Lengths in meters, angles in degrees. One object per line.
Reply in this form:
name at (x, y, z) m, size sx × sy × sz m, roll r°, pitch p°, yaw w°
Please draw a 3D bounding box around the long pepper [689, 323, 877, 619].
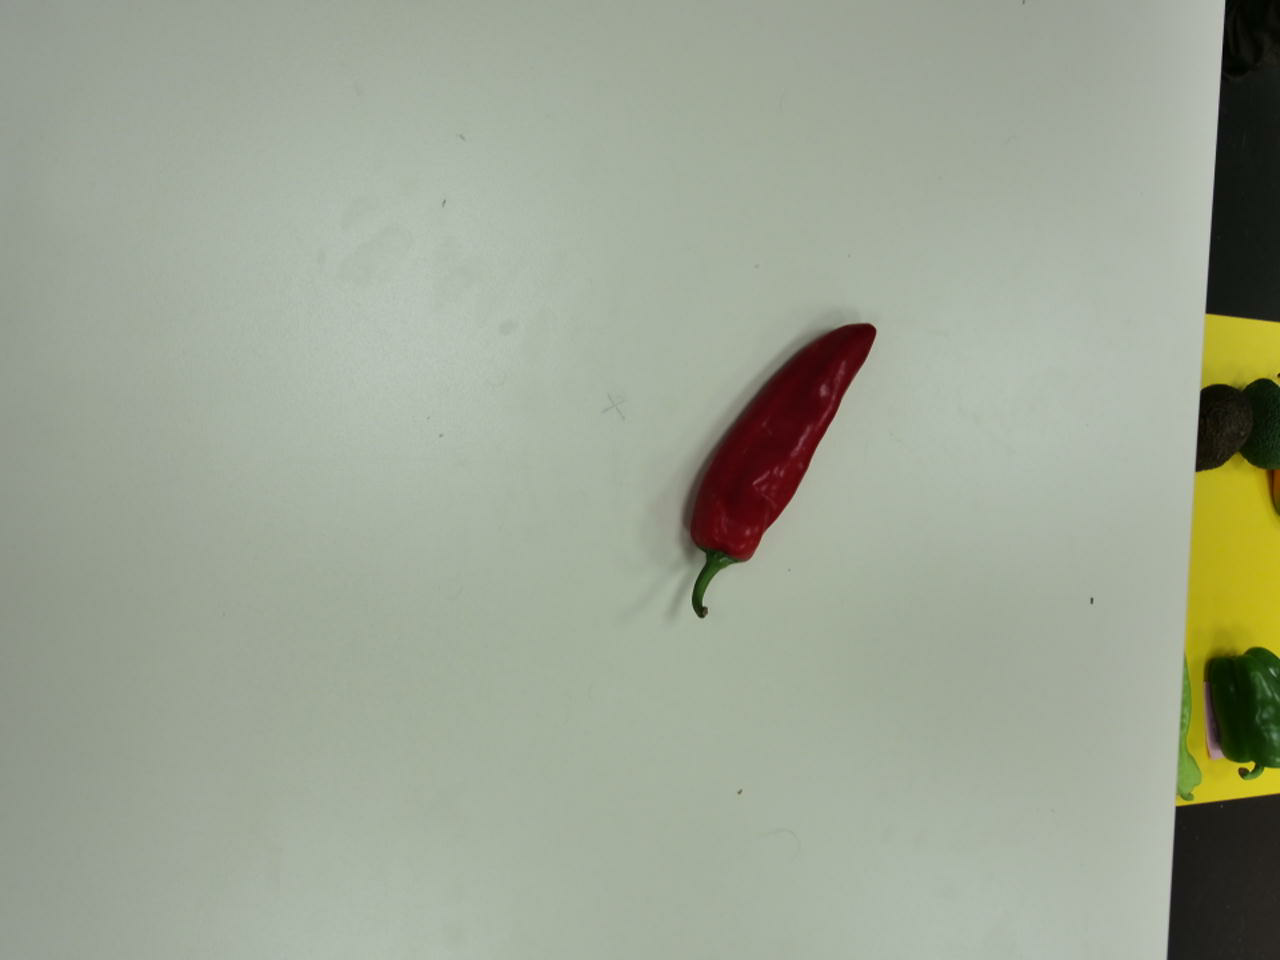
long pepper at (0.077, -0.015, 0.584) m, size 0.050 × 0.043 × 0.211 m, roll 39°, pitch 77°, yaw -18°
